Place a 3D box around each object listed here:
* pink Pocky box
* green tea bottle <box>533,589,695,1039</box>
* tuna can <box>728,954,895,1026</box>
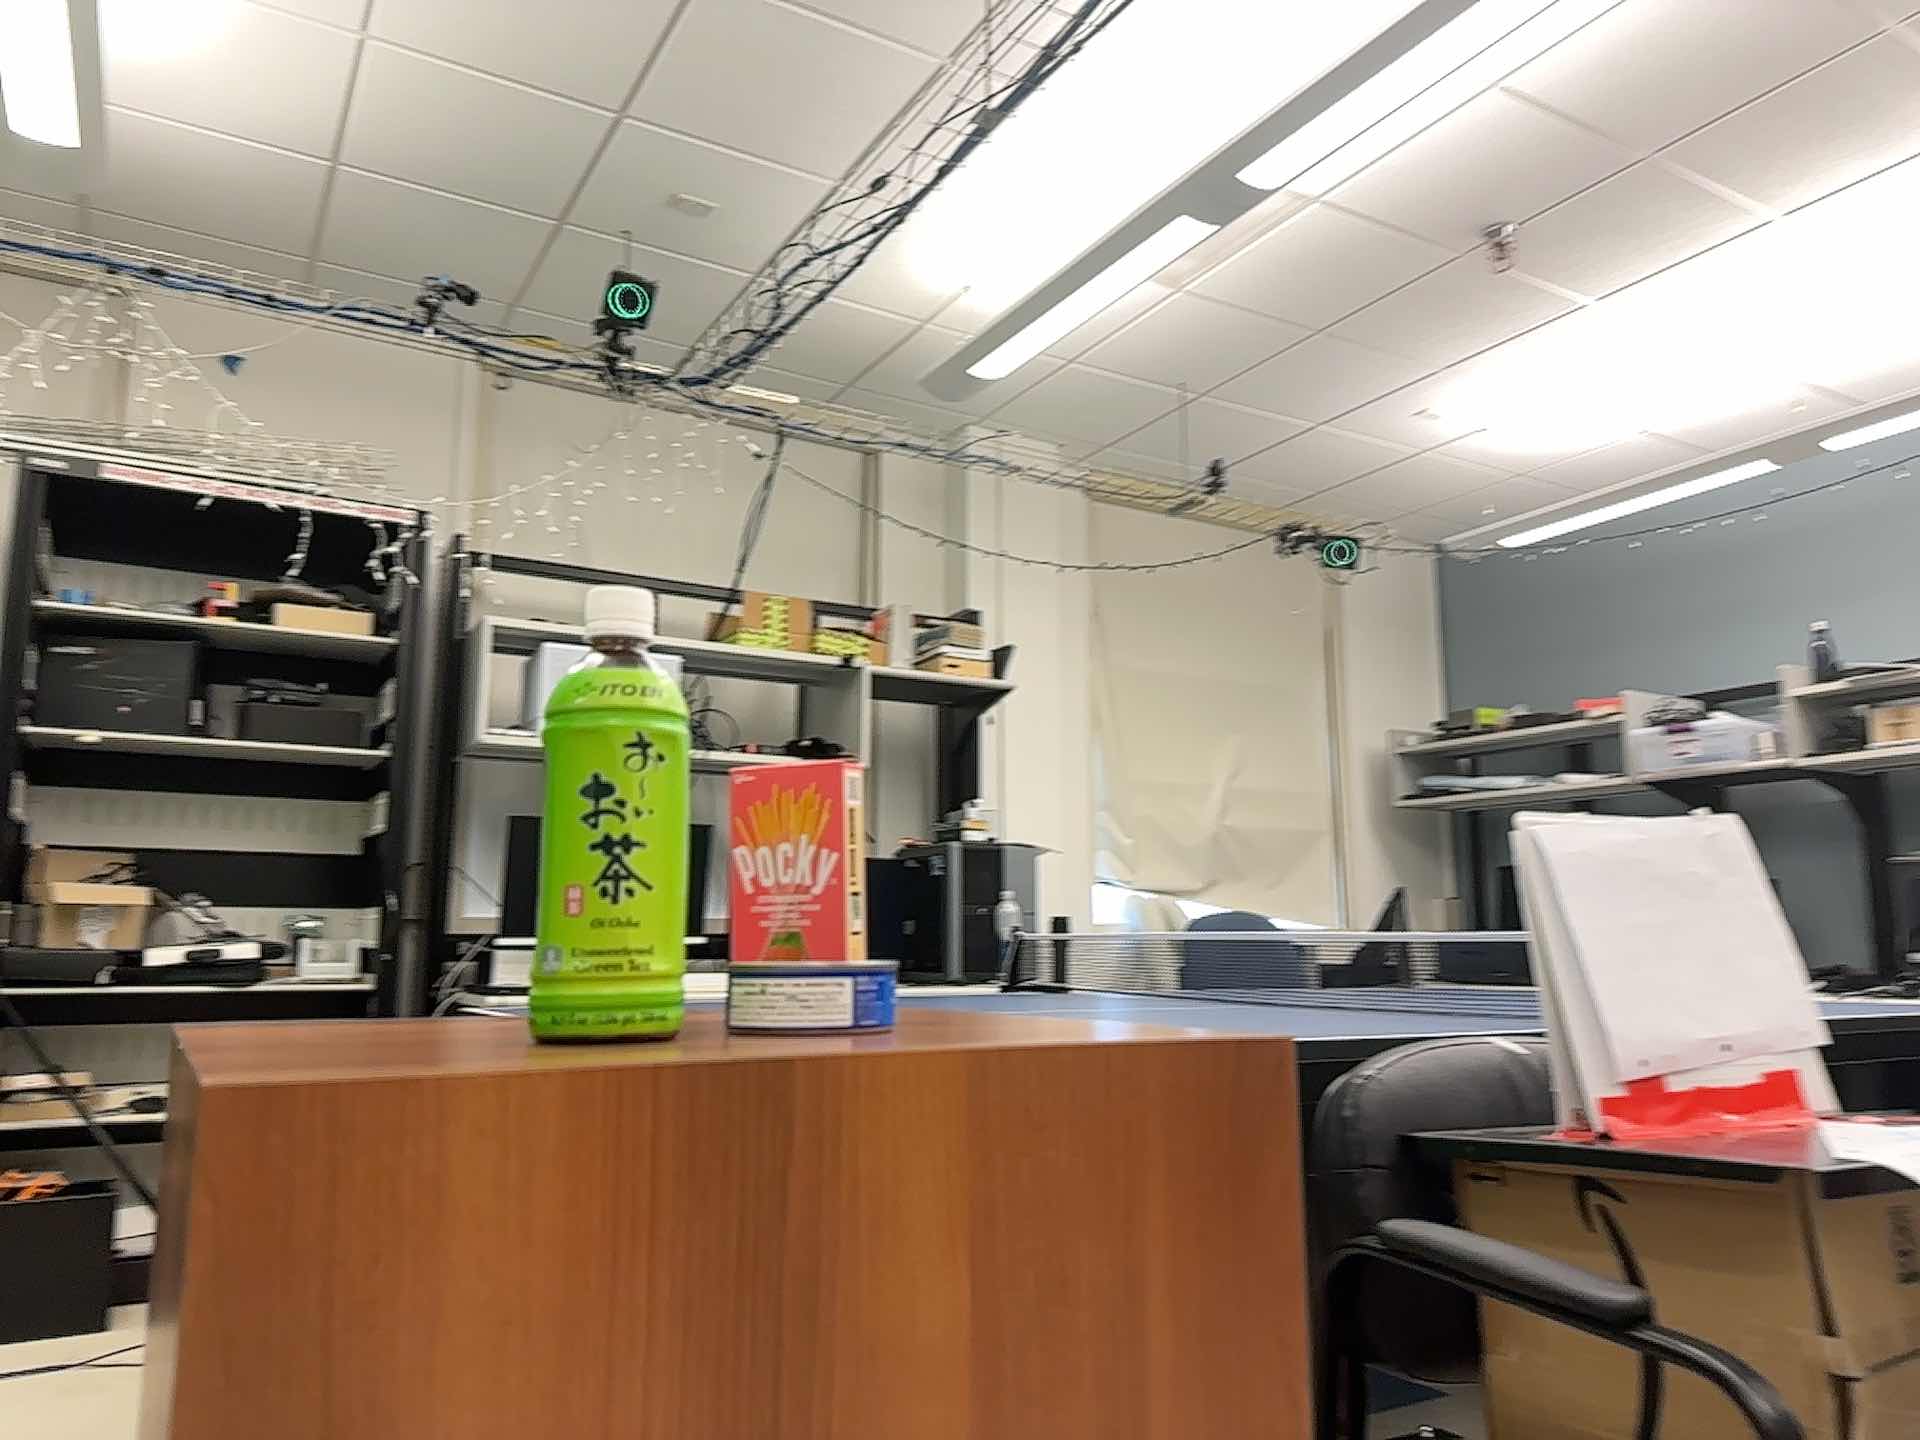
[{"bbox_3d":[-0.103,0.100,0.810,0.084,0.155,0.029,-5,-8,25],"label":"pink Pocky box"},{"bbox_3d":[-0.164,0.043,0.642,0.073,0.212,0.073,-2,-10,0],"label":"green tea bottle"},{"bbox_3d":[-0.076,0.137,0.686,0.083,0.034,0.083,-1,-11,0],"label":"tuna can"}]
